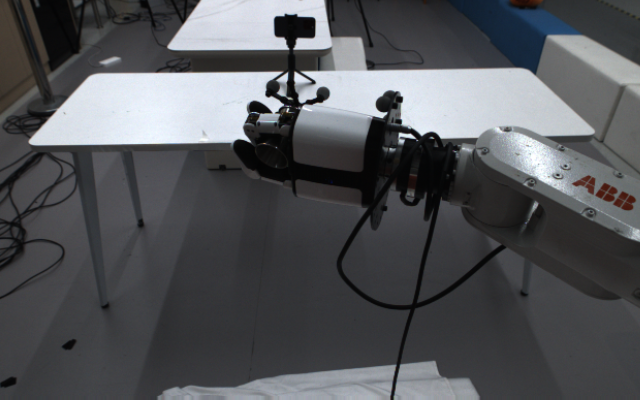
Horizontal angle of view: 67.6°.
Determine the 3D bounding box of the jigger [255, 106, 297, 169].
[{"bbox_3d":[-0.043,-0.077,0.591,0.043,0.043,0.071,13,58,16],"label":"jigger"}]
